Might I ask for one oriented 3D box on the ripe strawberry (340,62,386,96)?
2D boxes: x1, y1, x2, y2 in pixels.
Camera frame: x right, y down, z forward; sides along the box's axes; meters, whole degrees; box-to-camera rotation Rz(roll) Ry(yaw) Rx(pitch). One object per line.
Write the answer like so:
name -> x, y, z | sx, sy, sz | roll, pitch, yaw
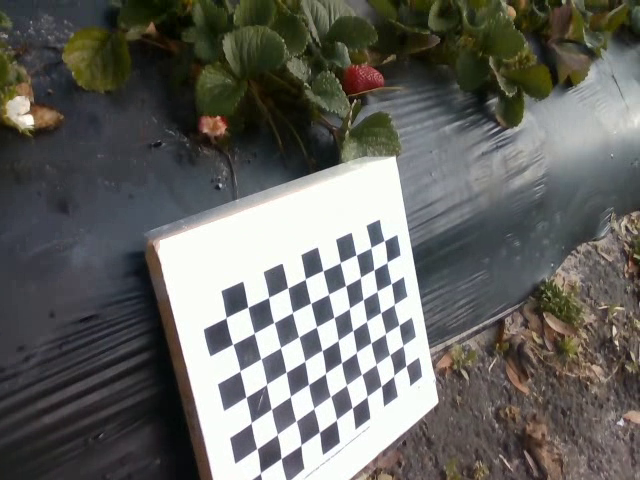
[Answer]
ripe strawberry -> 0.048, -0.173, 0.703 | 0.043, 0.051, 0.064 | -2, -17, 43
